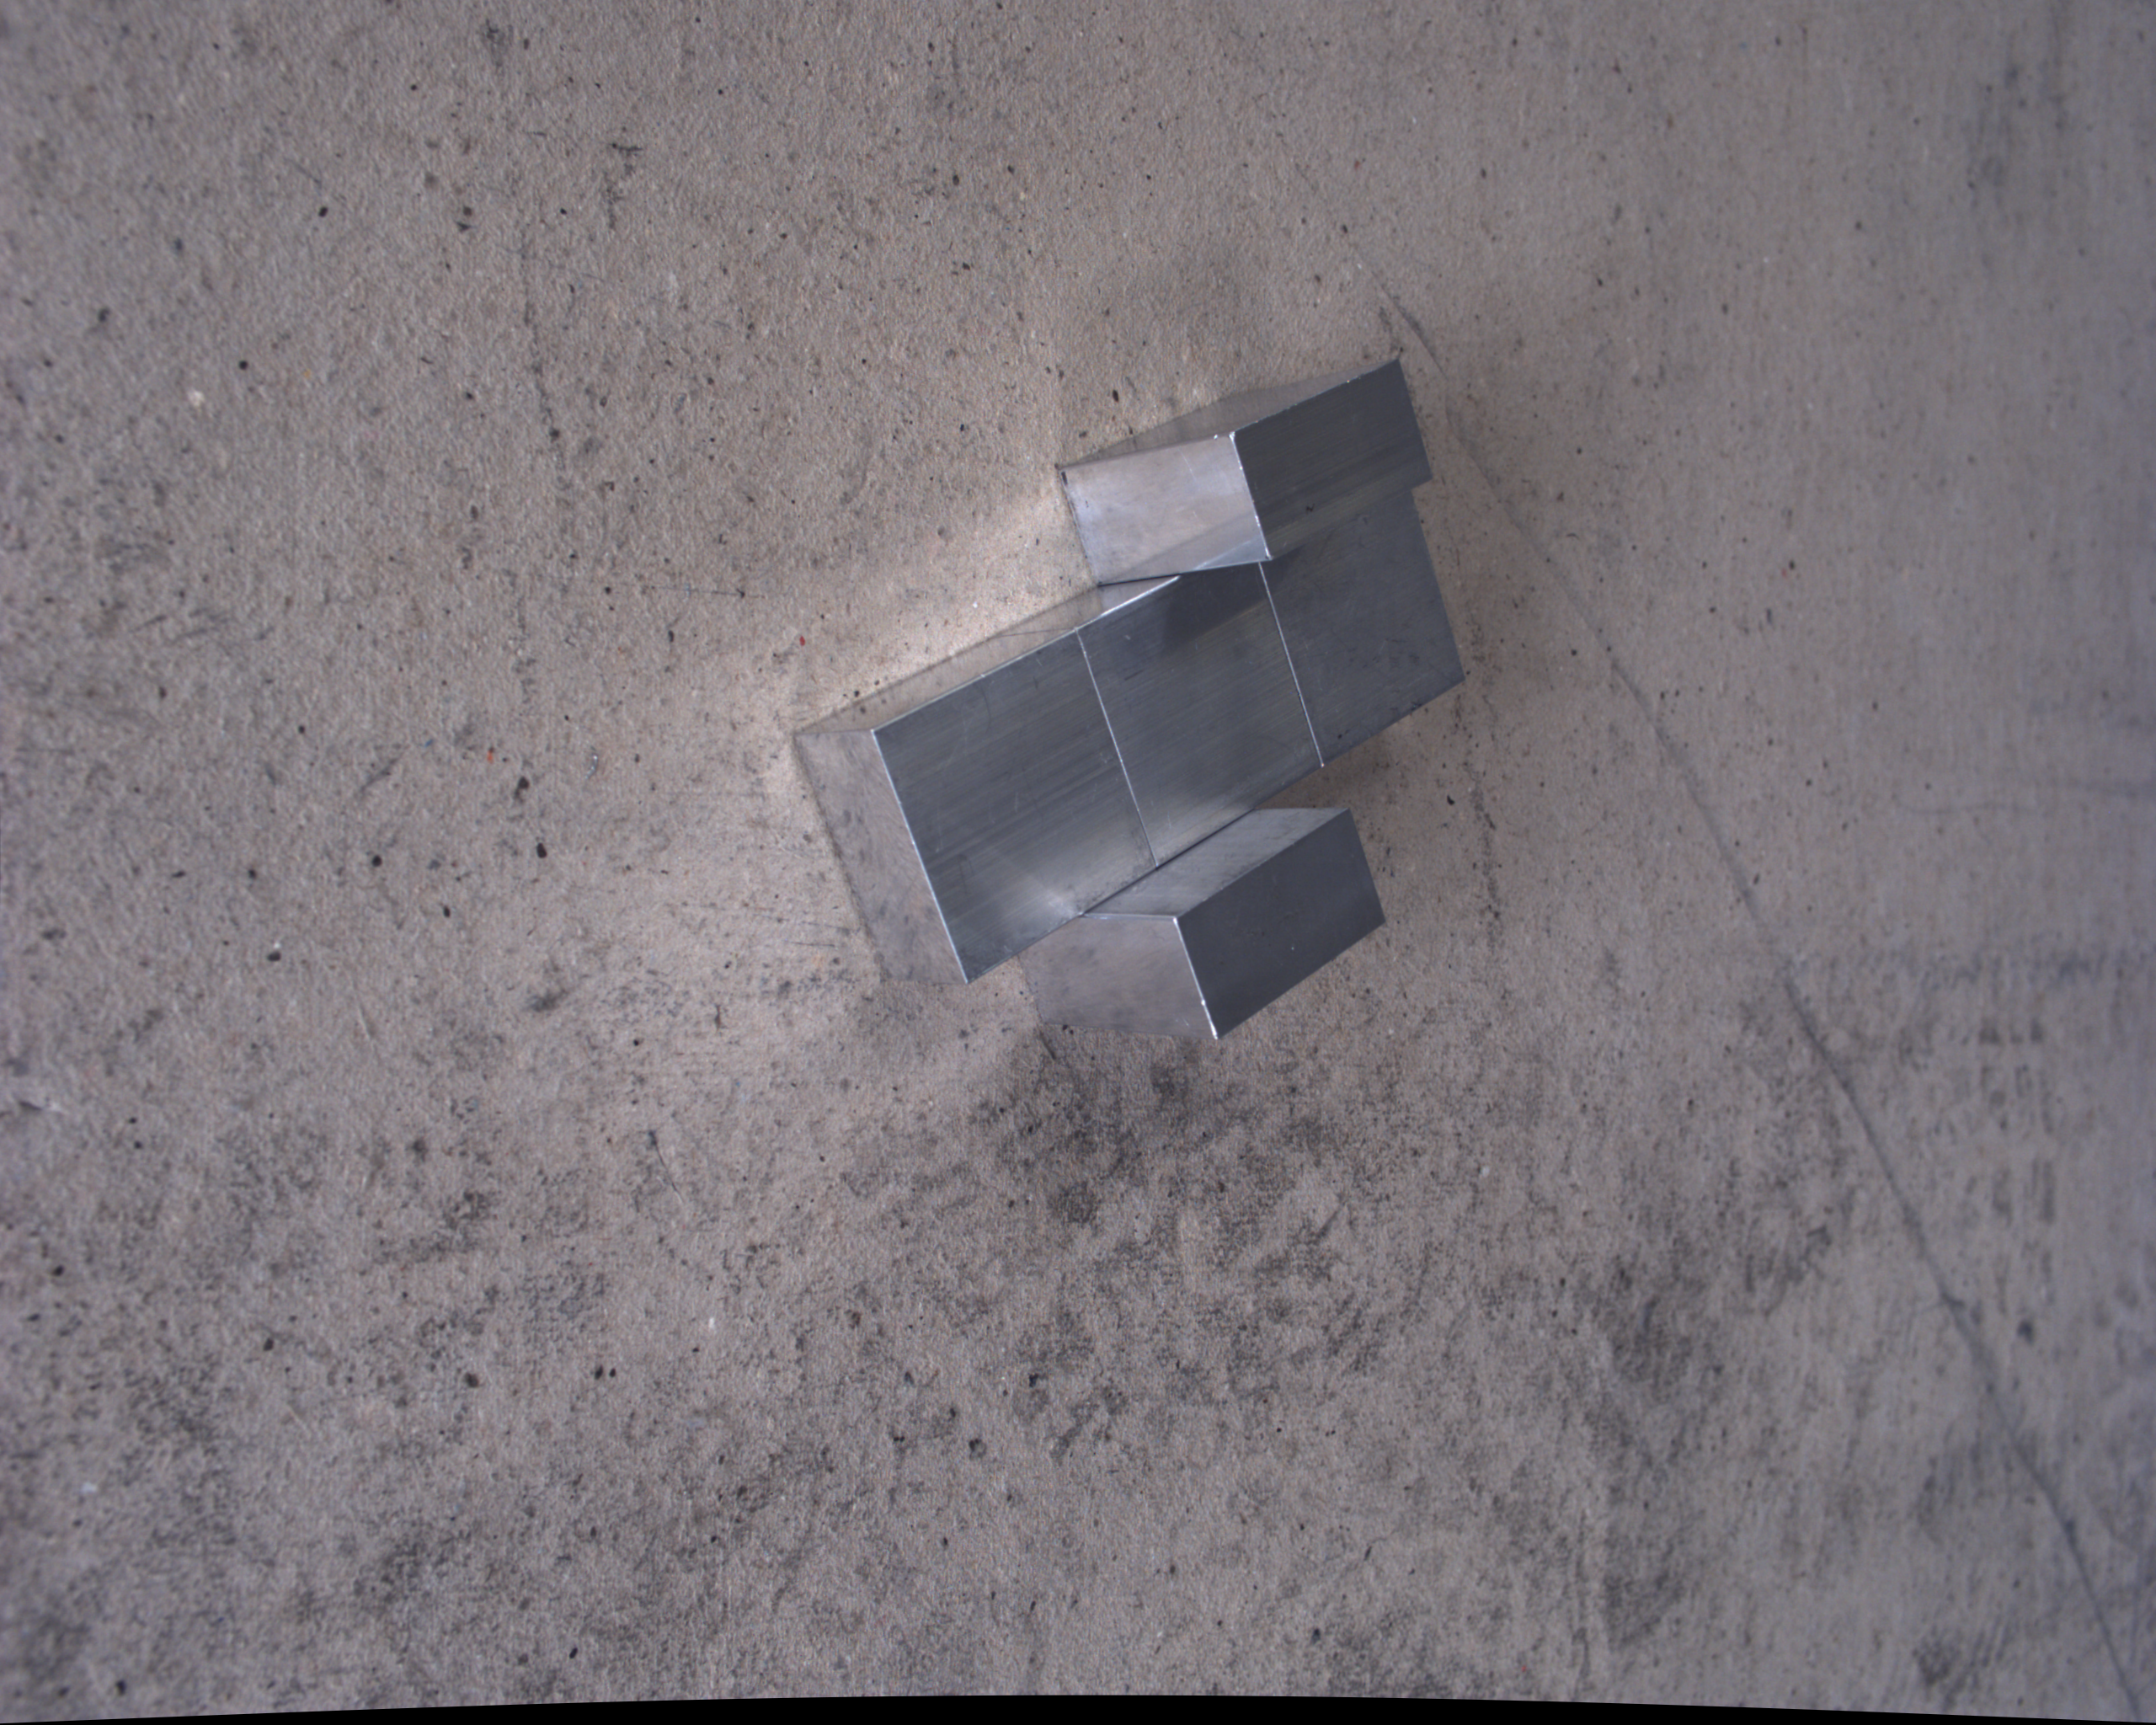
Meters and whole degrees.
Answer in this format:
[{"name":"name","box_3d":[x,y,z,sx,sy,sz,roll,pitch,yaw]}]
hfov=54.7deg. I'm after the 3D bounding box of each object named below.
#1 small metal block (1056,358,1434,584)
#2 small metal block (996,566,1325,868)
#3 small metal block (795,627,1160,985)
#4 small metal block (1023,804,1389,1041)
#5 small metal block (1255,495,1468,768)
[{"name":"small metal block","box_3d":[0.033,-0.078,0.418,0.050,0.050,0.025,-30,109,-35]},{"name":"small metal block","box_3d":[0.018,-0.032,0.420,0.050,0.025,0.050,-31,110,-36]},{"name":"small metal block","box_3d":[-0.018,-0.011,0.390,0.050,0.025,0.050,-31,110,-36]},{"name":"small metal block","box_3d":[0.023,0.011,0.409,0.050,0.050,0.025,-31,109,-35]},{"name":"small metal block","box_3d":[0.053,-0.053,0.449,0.050,0.025,0.050,-31,110,-36]}]
